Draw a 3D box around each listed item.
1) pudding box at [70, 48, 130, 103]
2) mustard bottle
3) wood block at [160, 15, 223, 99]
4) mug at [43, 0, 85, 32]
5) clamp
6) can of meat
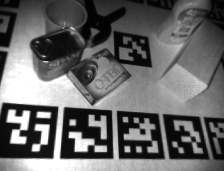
[{"bbox_3d":[-0.023,-0.029,0.488,0.114,0.038,0.090,-36,81,-30],"label":"pudding box"},{"bbox_3d":[0.193,-0.199,0.551,0.097,0.191,0.058,-1,66,-17],"label":"mustard bottle"},{"bbox_3d":[0.222,-0.079,0.568,0.090,0.091,0.207,37,58,4],"label":"wood block"},{"bbox_3d":[-0.111,-0.152,0.518,0.093,0.081,0.117,25,62,-5],"label":"mug"},{"bbox_3d":[-0.035,-0.180,0.562,0.122,0.036,0.165,23,63,-9],"label":"clamp"},{"bbox_3d":[-0.111,-0.067,0.446,0.103,0.083,0.057,-26,76,-26],"label":"can of meat"}]
